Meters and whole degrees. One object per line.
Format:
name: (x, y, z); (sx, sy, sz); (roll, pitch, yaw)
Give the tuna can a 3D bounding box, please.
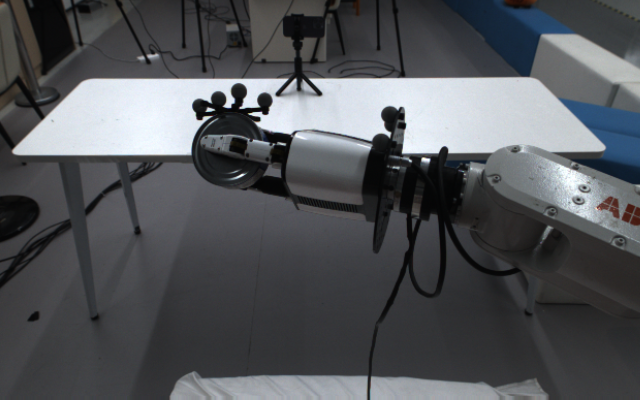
tuna can: (-0.099, -0.051, 0.557); (0.085, 0.085, 0.034); (10, -6, 11)
